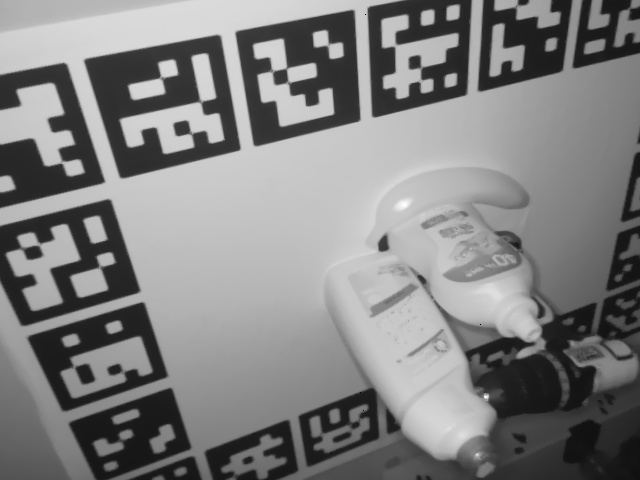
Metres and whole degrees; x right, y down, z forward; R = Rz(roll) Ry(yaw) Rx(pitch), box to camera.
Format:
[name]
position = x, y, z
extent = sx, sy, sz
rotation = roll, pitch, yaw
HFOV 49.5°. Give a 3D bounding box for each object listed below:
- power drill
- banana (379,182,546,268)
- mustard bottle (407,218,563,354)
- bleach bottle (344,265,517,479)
[power drill]
position = 0.214, 0.104, 0.680
extent = 0.187, 0.187, 0.057
rotation = -3, 119, -20
[banana]
position = 0.150, -0.025, 0.712
extent = 0.200, 0.038, 0.073
rotation = -12, 119, -20
[mustard bottle]
position = 0.162, 0.045, 0.650
extent = 0.097, 0.191, 0.058
rotation = -14, 121, -14
[bleach bottle]
position = 0.110, 0.123, 0.641
extent = 0.104, 0.250, 0.067
rotation = -12, 126, -16
